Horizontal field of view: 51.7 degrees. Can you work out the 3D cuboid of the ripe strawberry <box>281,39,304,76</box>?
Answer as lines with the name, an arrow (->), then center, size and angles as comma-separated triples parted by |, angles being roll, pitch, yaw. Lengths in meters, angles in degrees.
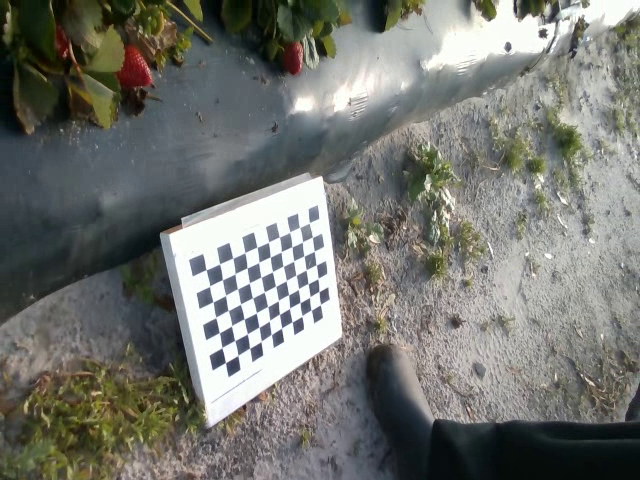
ripe strawberry -> -0.022, -0.163, 0.583 | 0.029, 0.036, 0.021 | -22, 13, -41

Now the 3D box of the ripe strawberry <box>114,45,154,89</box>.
ripe strawberry -> -0.131, -0.117, 0.453 | 0.030, 0.032, 0.025 | 37, -25, -24
